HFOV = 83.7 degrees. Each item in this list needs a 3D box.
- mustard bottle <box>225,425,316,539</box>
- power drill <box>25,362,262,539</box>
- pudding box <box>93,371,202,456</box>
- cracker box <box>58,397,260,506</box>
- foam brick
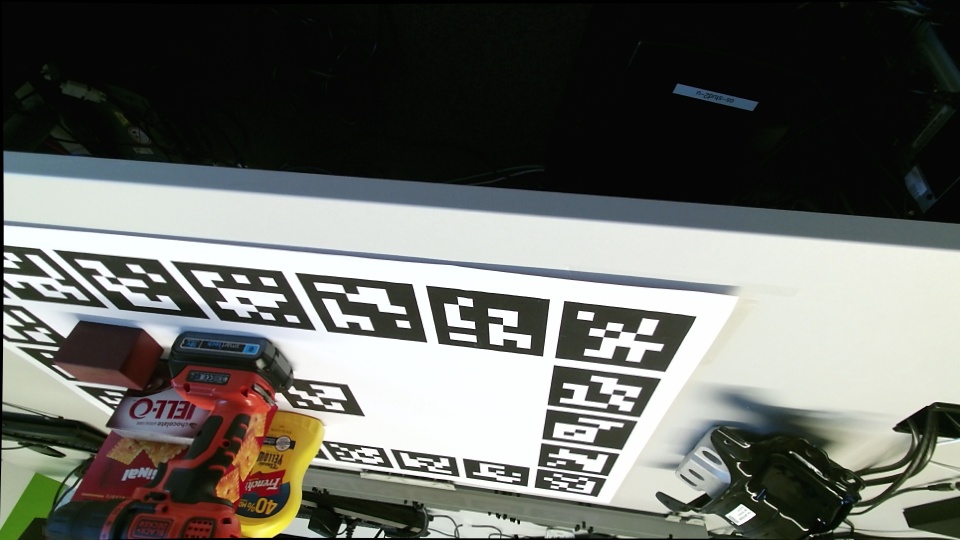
[{"bbox_3d":[-0.290,0.305,0.701,0.096,0.190,0.058,13,140,-5],"label":"mustard bottle"},{"bbox_3d":[-0.313,0.185,0.525,0.185,0.186,0.057,5,144,7],"label":"power drill"},{"bbox_3d":[-0.365,0.167,0.622,0.114,0.089,0.039,3,142,3],"label":"pudding box"},{"bbox_3d":[-0.378,0.238,0.626,0.165,0.212,0.072,2,142,6],"label":"cracker box"},{"bbox_3d":[-0.419,0.096,0.598,0.078,0.051,0.053,6,139,4],"label":"foam brick"}]
